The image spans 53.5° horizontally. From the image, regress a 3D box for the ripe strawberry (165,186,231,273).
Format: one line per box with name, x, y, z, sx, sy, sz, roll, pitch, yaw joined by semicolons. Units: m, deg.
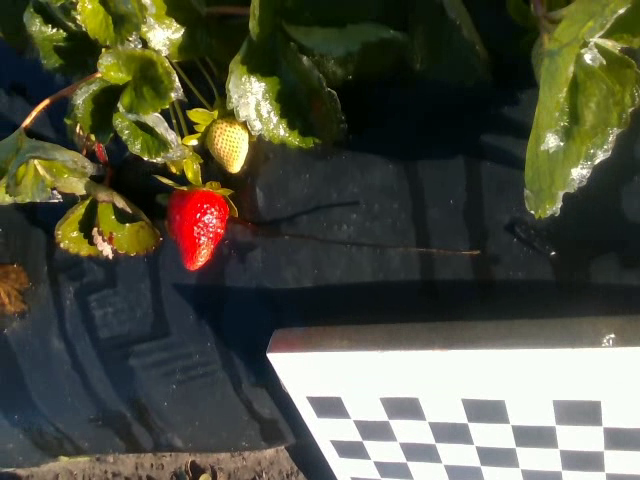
ripe strawberry;-0.056;-0.001;0.280;0.039;0.039;0.040;-6;-23;37
